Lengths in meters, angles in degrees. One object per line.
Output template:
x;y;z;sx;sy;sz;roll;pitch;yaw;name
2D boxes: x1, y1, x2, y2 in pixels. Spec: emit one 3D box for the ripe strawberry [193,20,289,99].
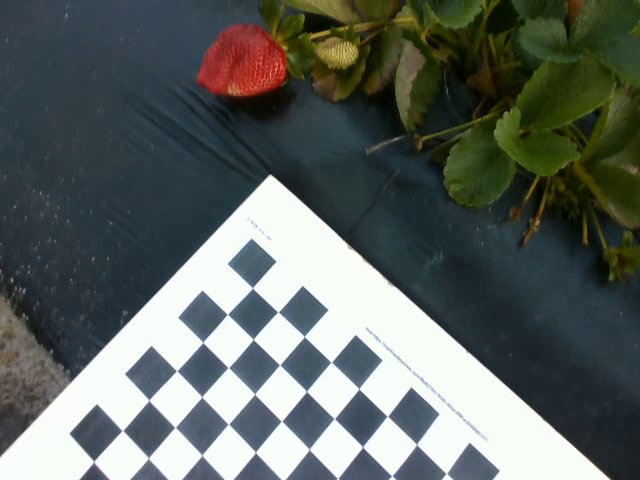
-0.063;-0.129;0.440;0.067;0.074;0.039;44;-12;12;ripe strawberry
